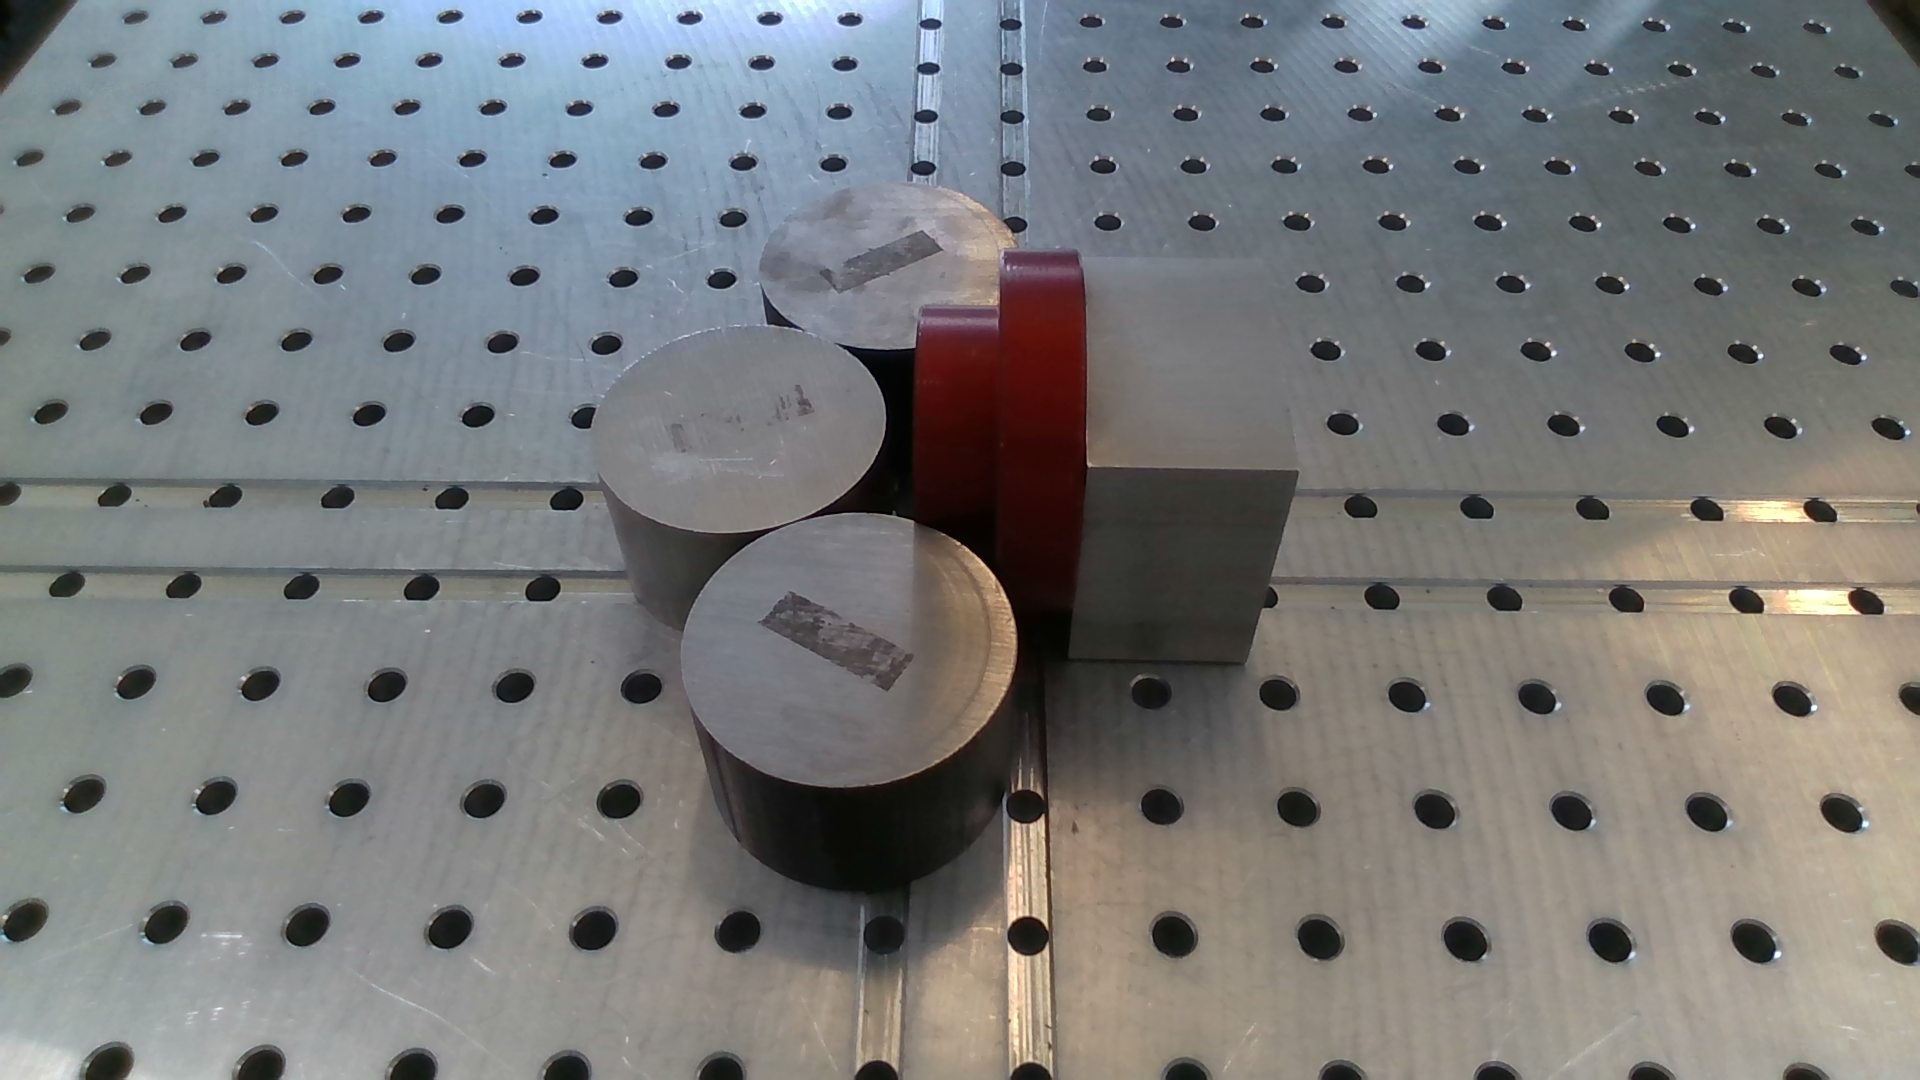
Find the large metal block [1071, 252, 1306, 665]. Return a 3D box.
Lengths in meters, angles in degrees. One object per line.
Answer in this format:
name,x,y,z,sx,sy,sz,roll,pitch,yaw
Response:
large metal block,0.056,-0.022,0.379,0.050,0.080,0.080,0,50,0

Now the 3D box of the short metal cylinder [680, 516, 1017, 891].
short metal cylinder,-0.026,0.040,0.347,0.080,0.050,0.080,0,50,0

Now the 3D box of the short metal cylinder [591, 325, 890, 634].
short metal cylinder,-0.060,-0.016,0.394,0.080,0.050,0.080,0,50,0

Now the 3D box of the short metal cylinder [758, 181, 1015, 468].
short metal cylinder,-0.021,-0.069,0.439,0.080,0.050,0.080,0,50,0

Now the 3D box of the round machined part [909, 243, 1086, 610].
round machined part,0.009,-0.031,0.373,0.042,0.098,0.098,2,50,1
